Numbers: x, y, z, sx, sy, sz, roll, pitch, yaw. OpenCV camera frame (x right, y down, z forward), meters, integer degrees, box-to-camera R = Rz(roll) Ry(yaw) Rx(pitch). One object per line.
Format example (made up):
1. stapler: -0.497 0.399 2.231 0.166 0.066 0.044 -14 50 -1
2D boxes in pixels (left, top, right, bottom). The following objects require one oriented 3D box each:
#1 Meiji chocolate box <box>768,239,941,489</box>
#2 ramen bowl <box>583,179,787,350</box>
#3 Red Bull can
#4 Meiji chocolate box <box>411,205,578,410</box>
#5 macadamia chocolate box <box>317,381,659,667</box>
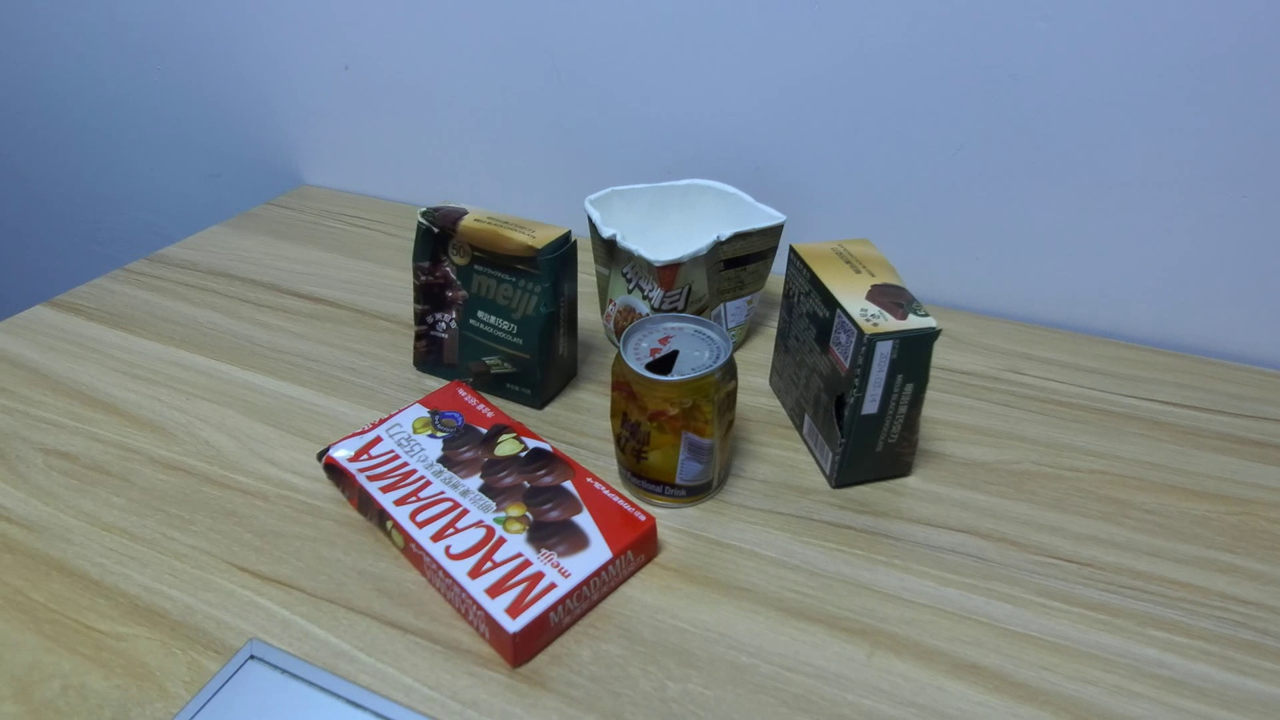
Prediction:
1. Meiji chocolate box: 0.128 -0.001 0.422 0.058 0.111 0.113 -5 35 -9
2. ramen bowl: 0.021 -0.070 0.525 0.114 0.098 0.133 -30 46 -33
3. Red Bull can: 0.018 0.027 0.392 0.072 0.092 0.072 1 37 0
4. Meiji chocolate box: -0.097 -0.039 0.473 0.117 0.117 0.052 16 30 22
5. macadamia chocolate box: -0.087 0.074 0.389 0.182 0.028 0.106 28 44 35
